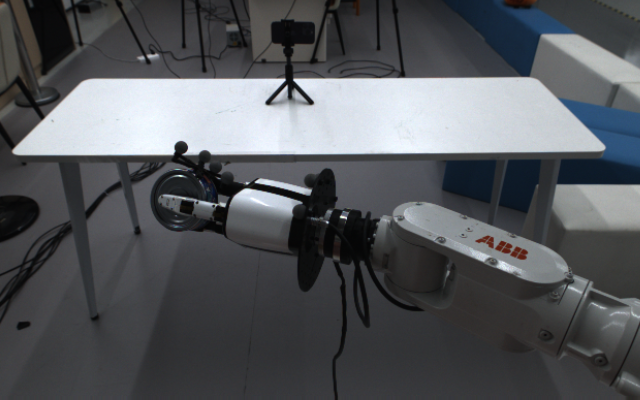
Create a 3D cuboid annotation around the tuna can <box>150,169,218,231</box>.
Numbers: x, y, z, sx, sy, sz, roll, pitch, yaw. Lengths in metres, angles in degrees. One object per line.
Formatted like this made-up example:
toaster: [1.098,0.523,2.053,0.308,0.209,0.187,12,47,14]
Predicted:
tuna can: [-0.183,0.000,0.654,0.085,0.085,0.034,12,4,14]
